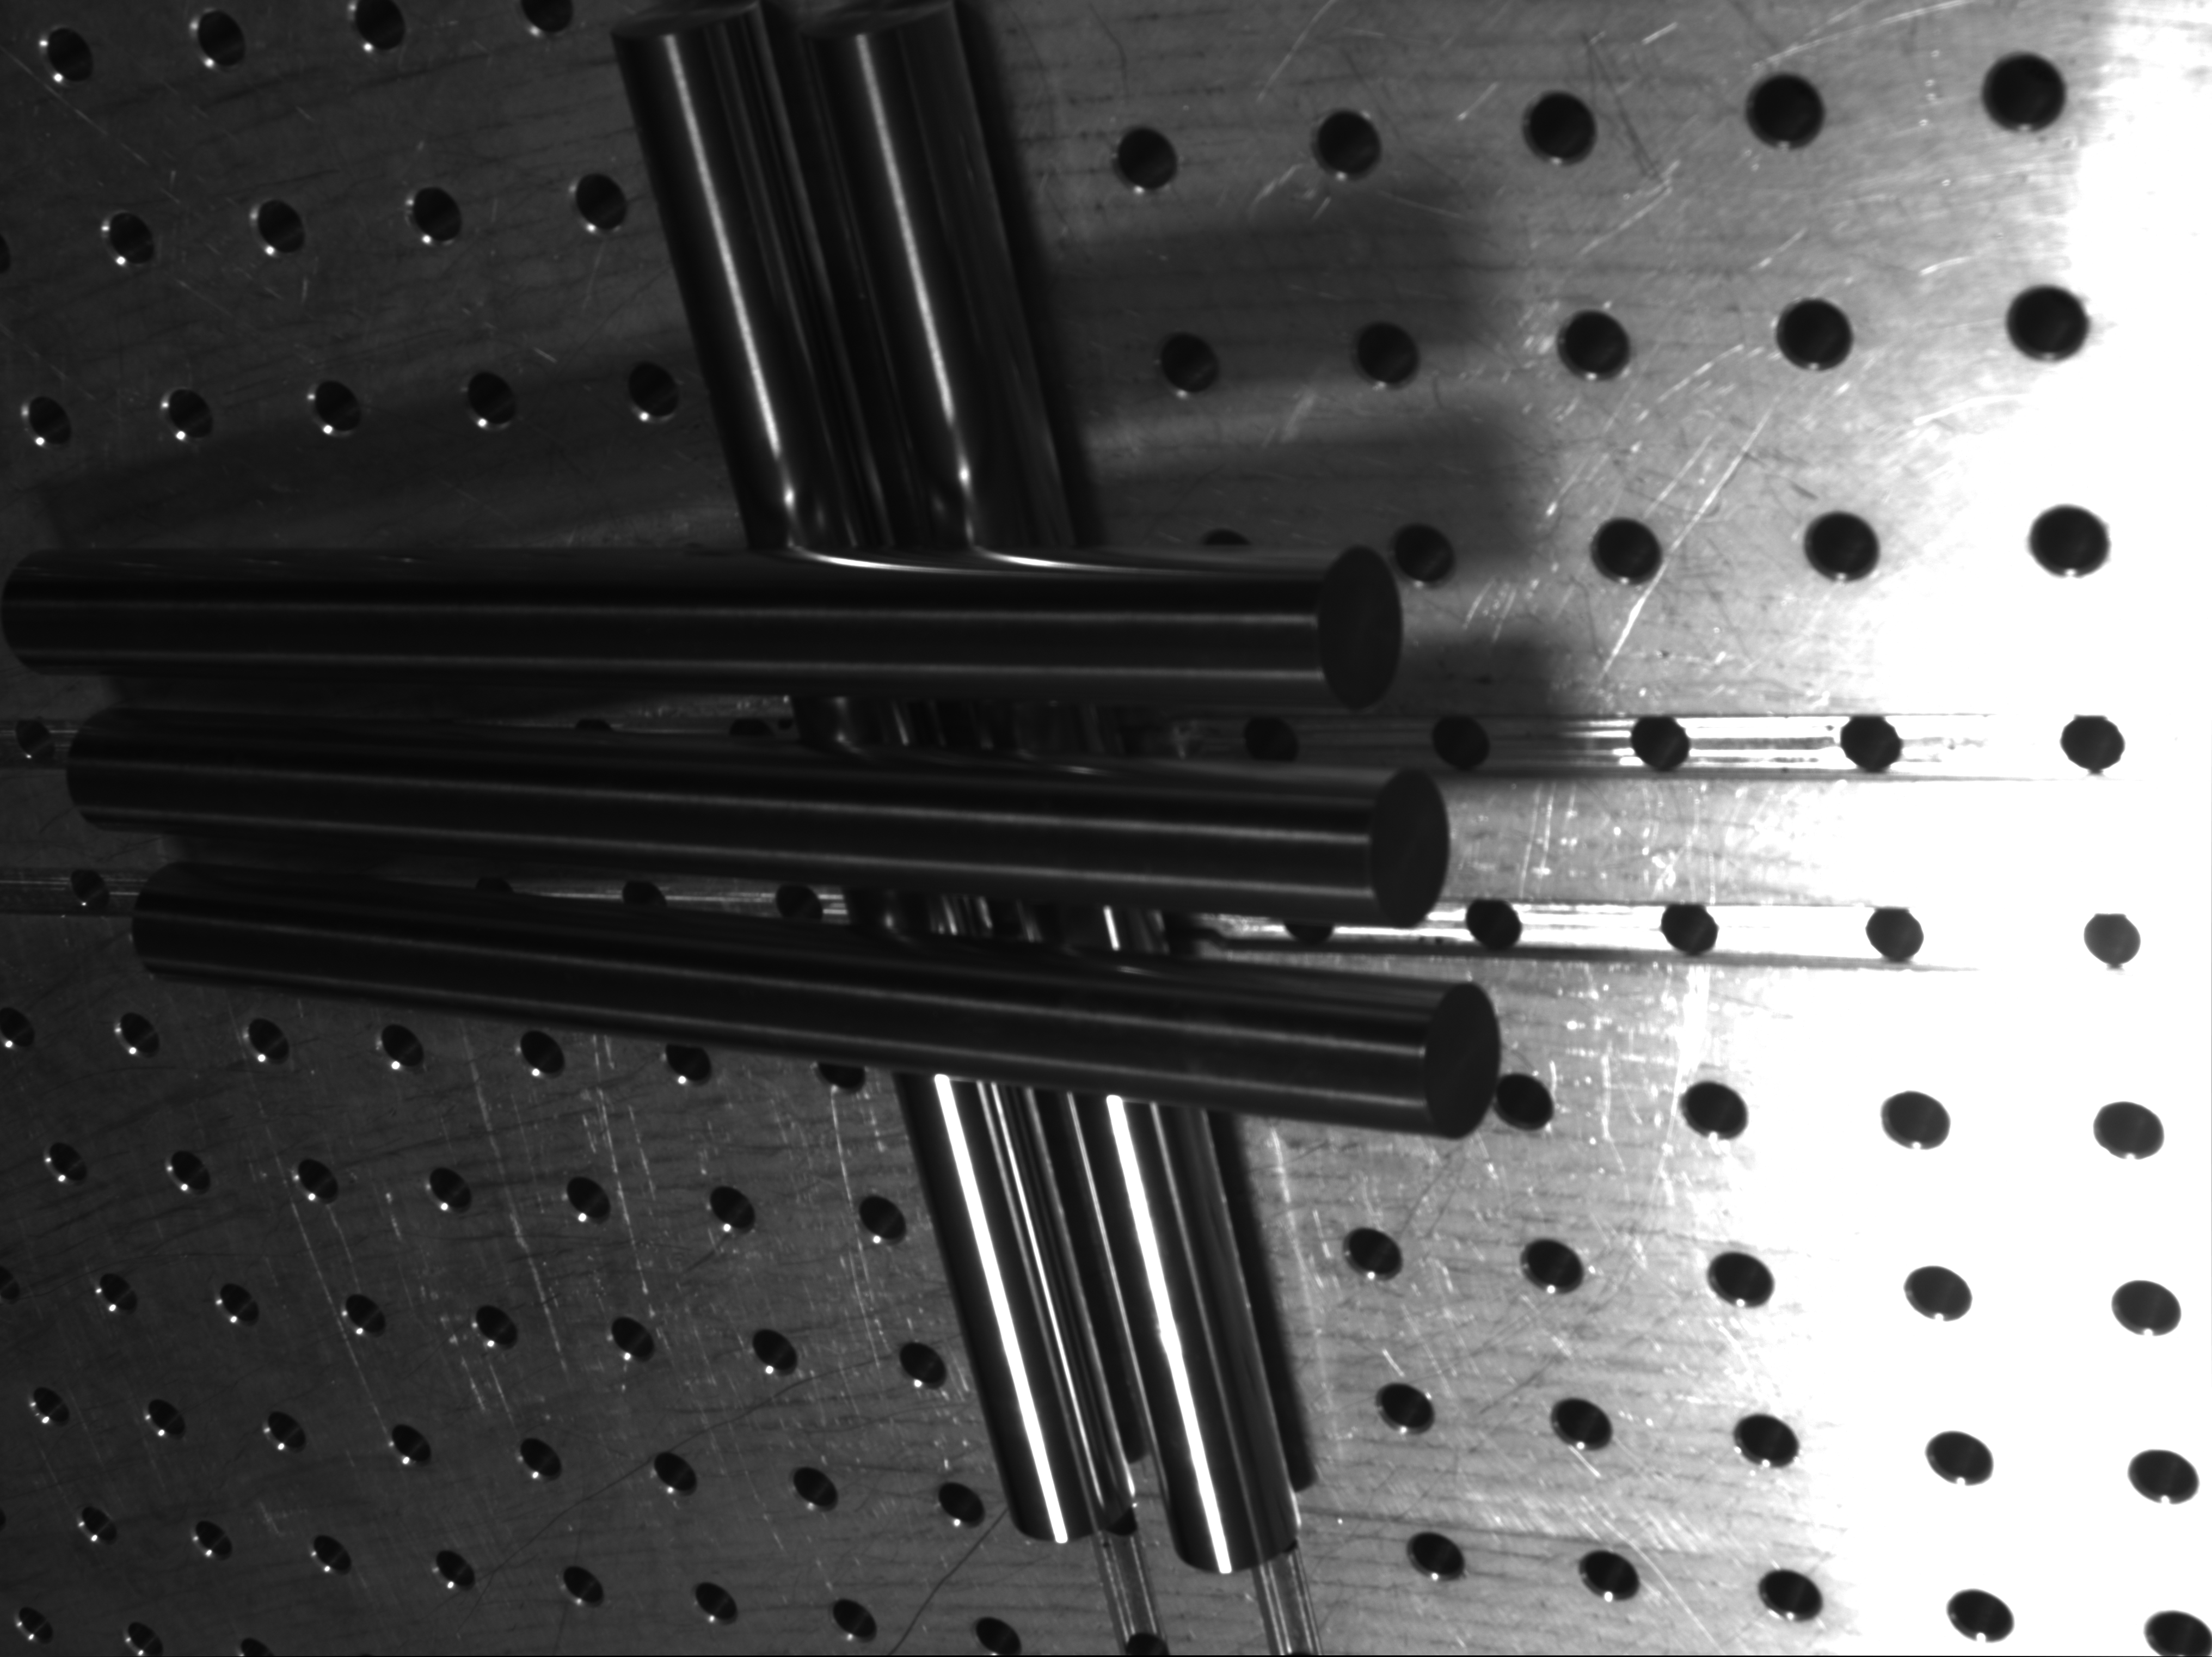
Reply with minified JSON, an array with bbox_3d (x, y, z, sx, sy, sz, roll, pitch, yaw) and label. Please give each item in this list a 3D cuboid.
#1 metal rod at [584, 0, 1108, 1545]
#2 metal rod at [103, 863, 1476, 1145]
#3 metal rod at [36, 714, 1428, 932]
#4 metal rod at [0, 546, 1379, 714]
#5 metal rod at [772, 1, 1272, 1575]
[{"bbox_3d":[-0.042,0.001,0.656,0.025,0.025,0.300,1,119,26],"label":"metal rod"},{"bbox_3d":[-0.071,0.028,0.660,0.299,0.025,0.025,4,120,34],"label":"metal rod"},{"bbox_3d":[-0.080,-0.004,0.646,0.299,0.025,0.025,3,120,34],"label":"metal rod"},{"bbox_3d":[-0.089,-0.036,0.631,0.299,0.025,0.025,3,120,35],"label":"metal rod"},{"bbox_3d":[-0.010,0.004,0.642,0.025,0.025,0.300,1,119,26],"label":"metal rod"}]
